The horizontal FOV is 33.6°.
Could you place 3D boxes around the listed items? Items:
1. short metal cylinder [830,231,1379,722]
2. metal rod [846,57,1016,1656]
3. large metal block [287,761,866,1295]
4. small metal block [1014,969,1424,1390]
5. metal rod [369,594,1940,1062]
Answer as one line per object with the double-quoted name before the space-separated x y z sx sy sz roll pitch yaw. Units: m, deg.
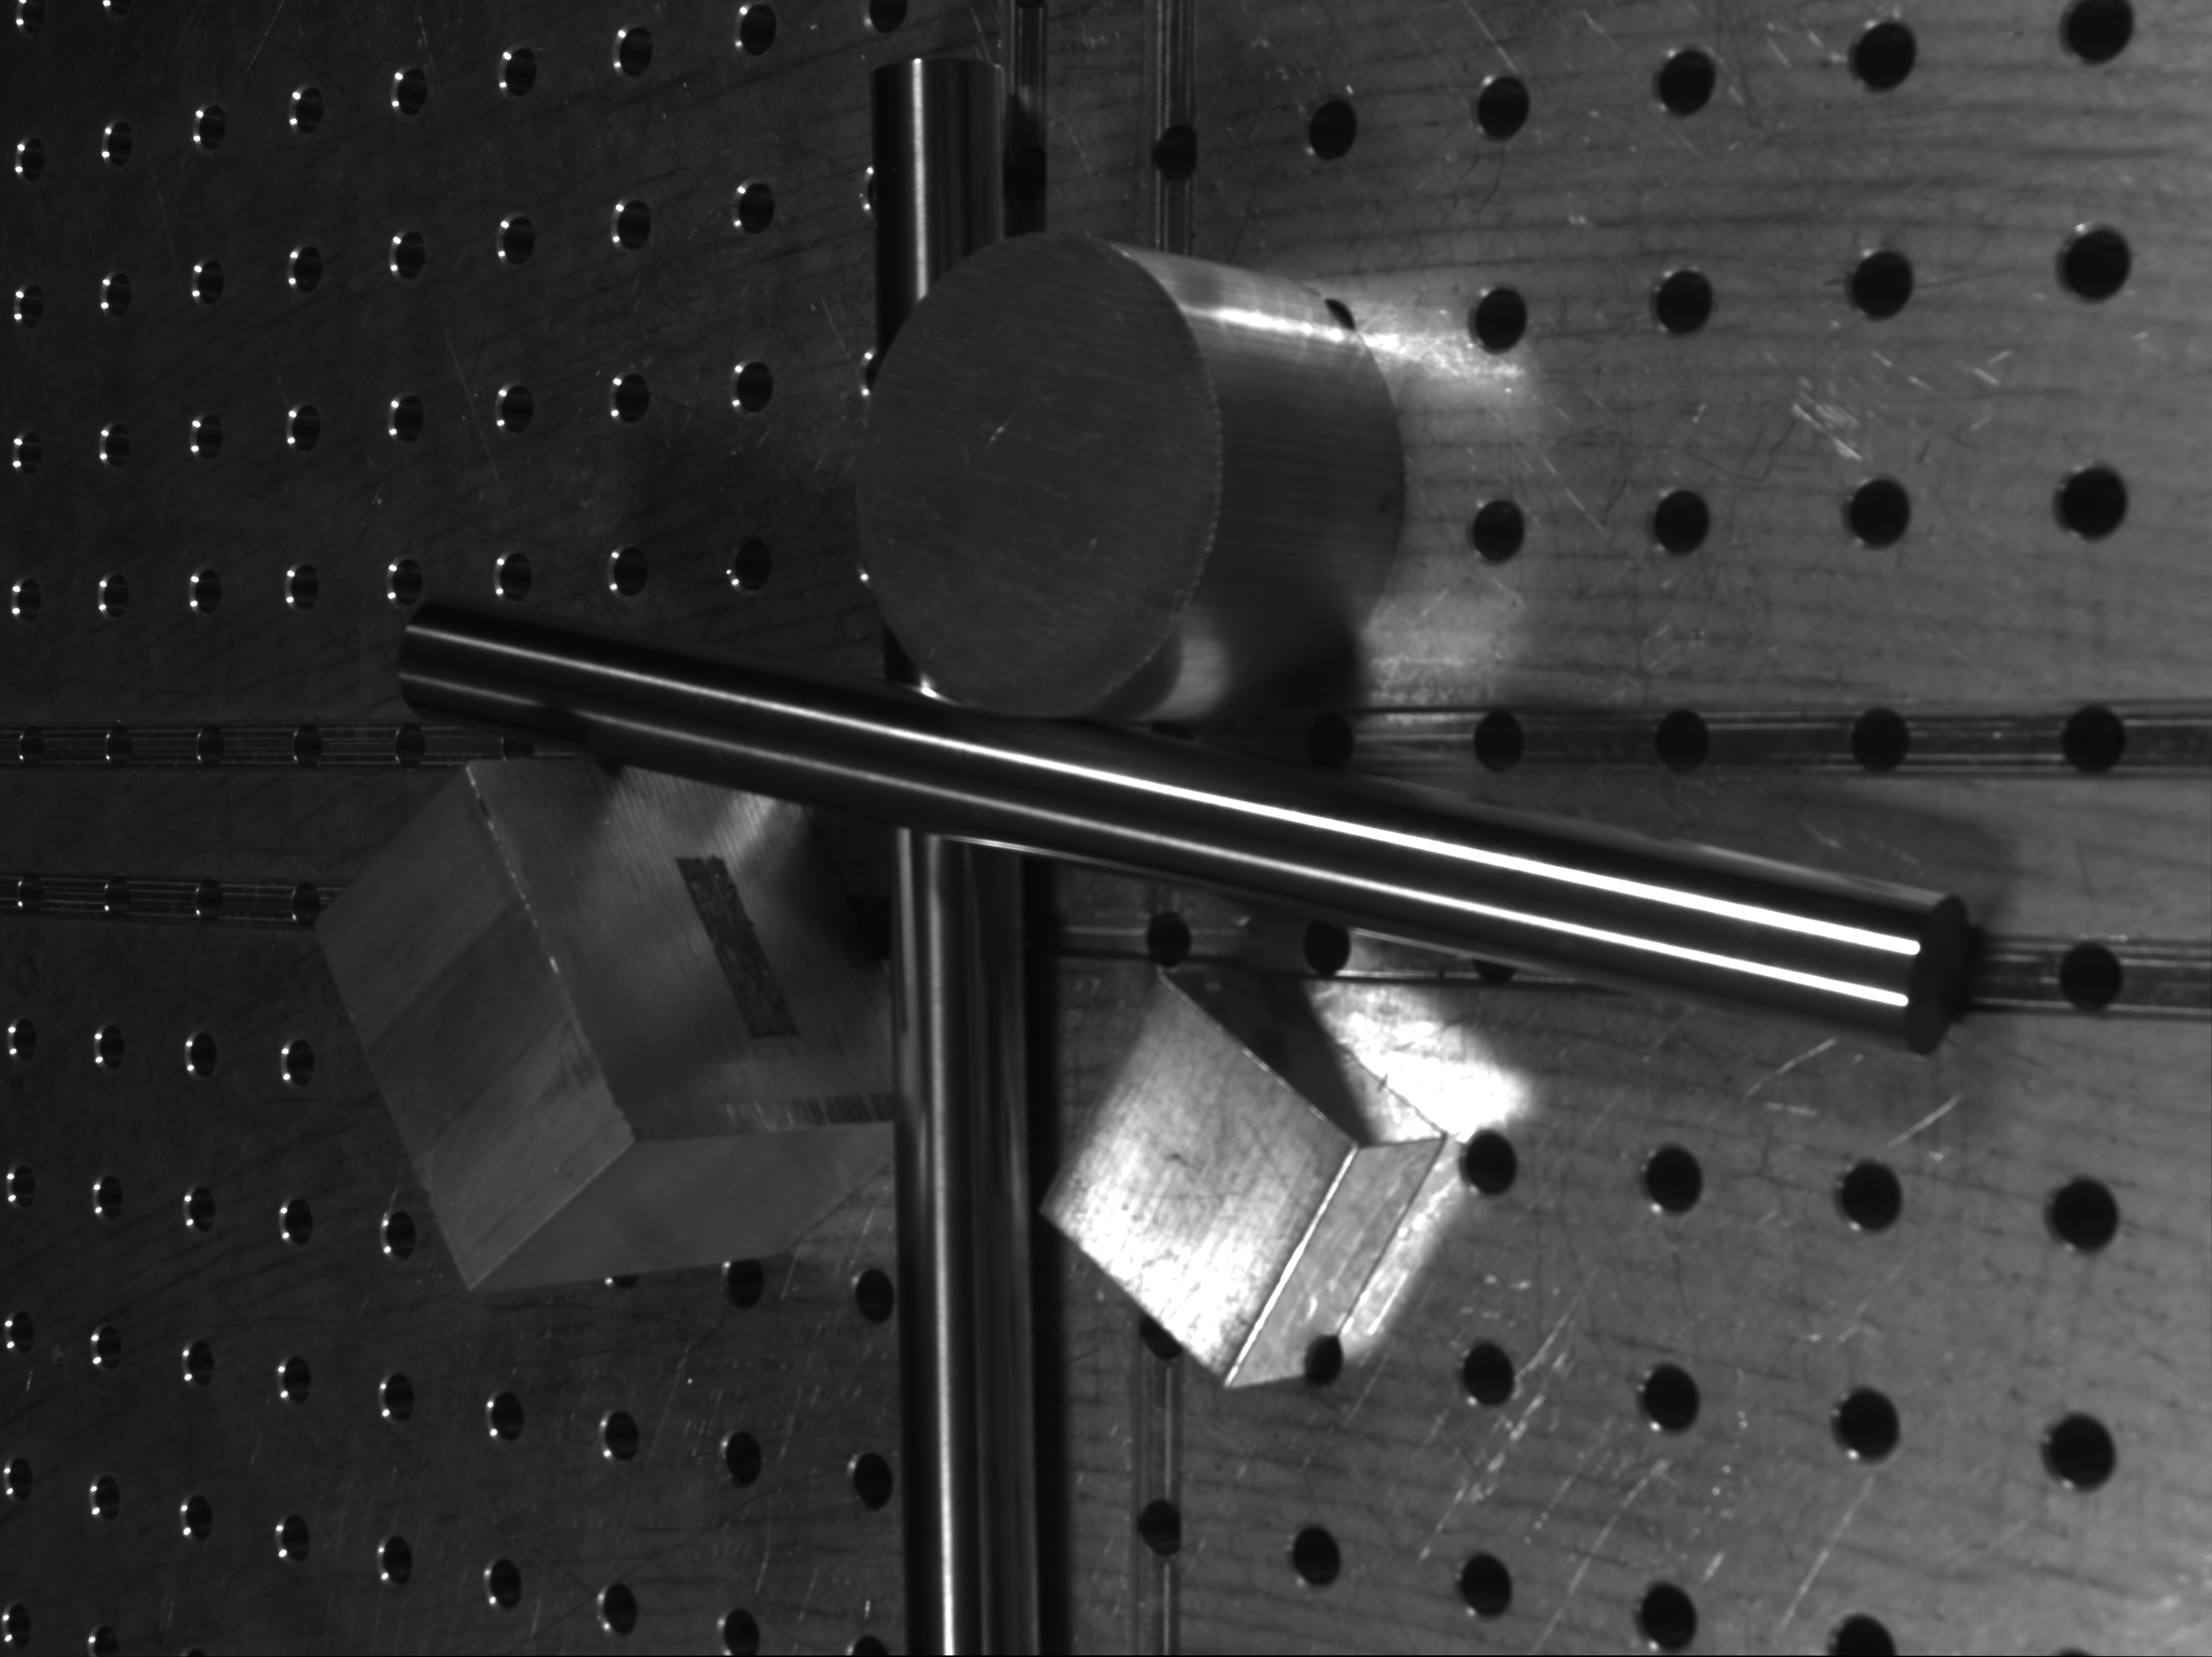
"short metal cylinder" -0.001 -0.058 0.624 0.080 0.050 0.080 0 90 39
"metal rod" -0.032 0.012 0.666 0.025 0.025 0.300 -2 88 39
"large metal block" -0.092 0.035 0.678 0.050 0.080 0.080 -42 65 31
"small metal block" 0.019 0.059 0.625 0.050 0.025 0.050 40 114 32
"metal rod" -0.006 -0.005 0.620 0.299 0.025 0.025 12 98 31
